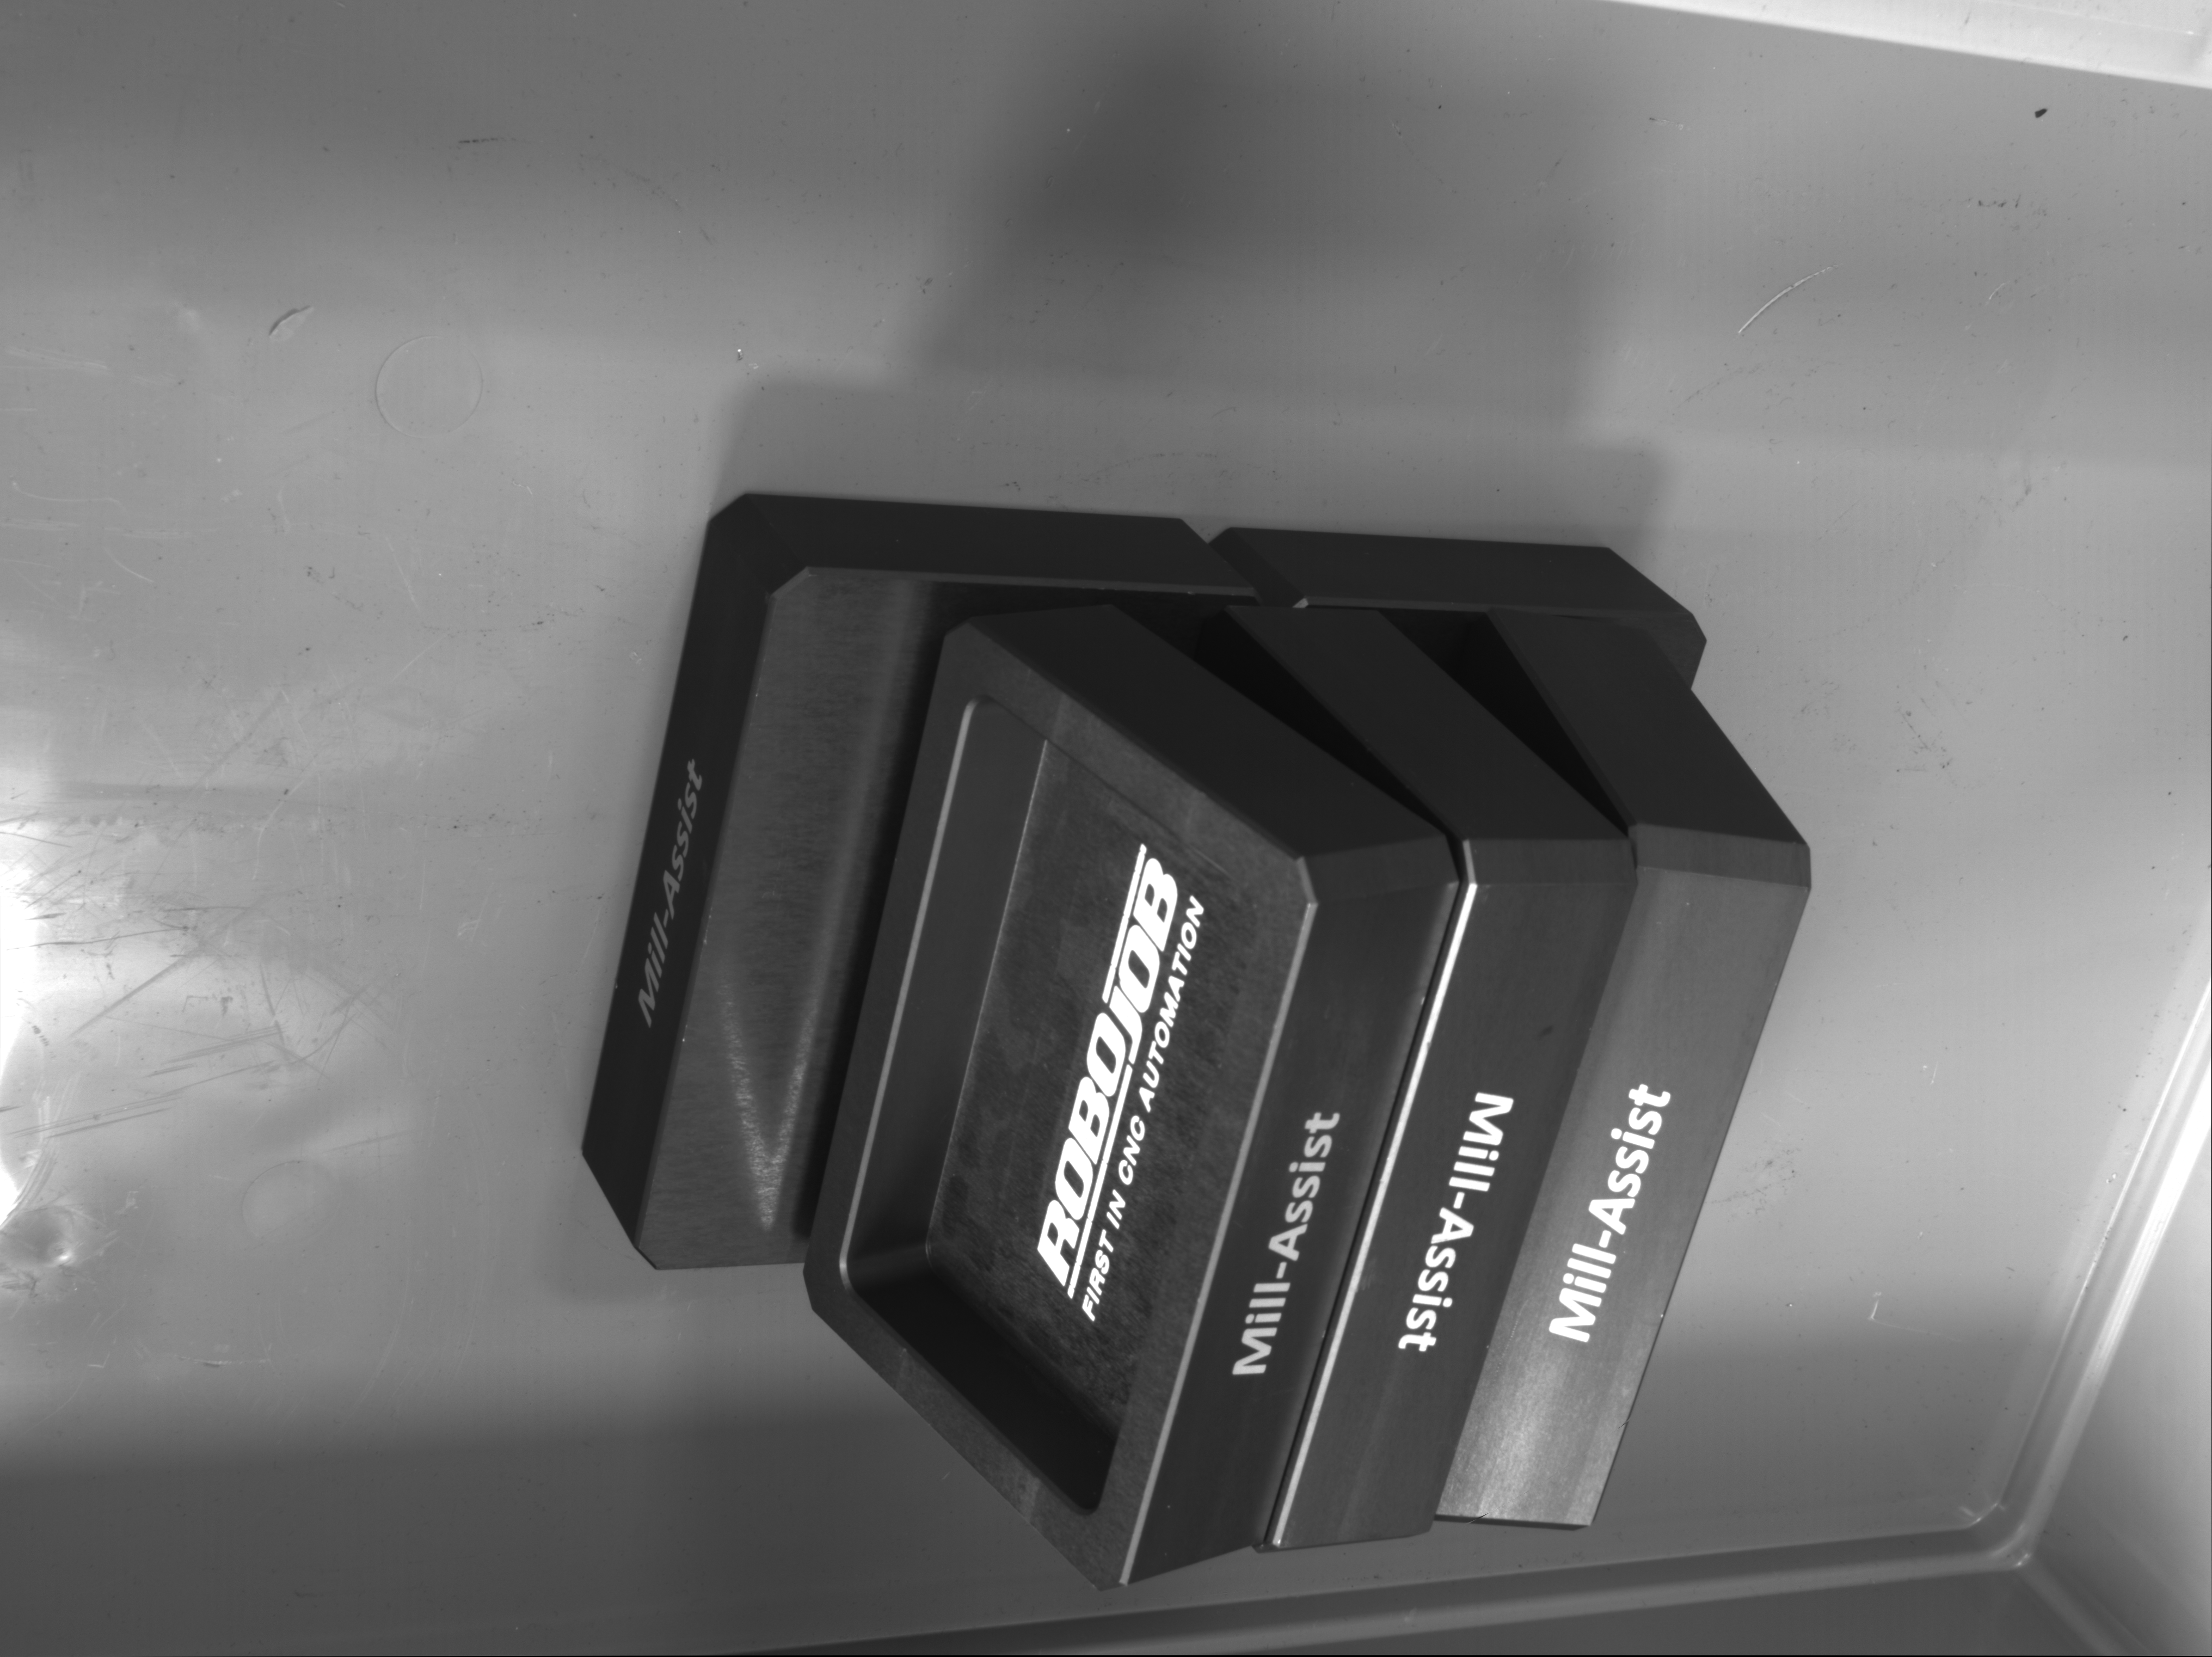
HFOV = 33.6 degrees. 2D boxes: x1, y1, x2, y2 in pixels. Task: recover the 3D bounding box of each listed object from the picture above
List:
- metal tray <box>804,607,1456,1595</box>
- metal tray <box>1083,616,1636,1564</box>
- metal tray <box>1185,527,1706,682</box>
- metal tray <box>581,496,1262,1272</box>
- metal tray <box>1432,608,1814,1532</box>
[{"bbox_3d":[0.000,0.042,0.577,0.030,0.090,0.130,-8,122,-39],"label":"metal tray"},{"bbox_3d":[0.035,0.041,0.598,0.030,0.090,0.130,0,116,-28],"label":"metal tray"},{"bbox_3d":[0.048,0.012,0.665,0.090,0.030,0.130,0,118,-28],"label":"metal tray"},{"bbox_3d":[-0.032,0.011,0.621,0.090,0.030,0.130,0,118,-28],"label":"metal tray"},{"bbox_3d":[0.072,0.040,0.615,0.030,0.090,0.130,7,116,-15],"label":"metal tray"}]
